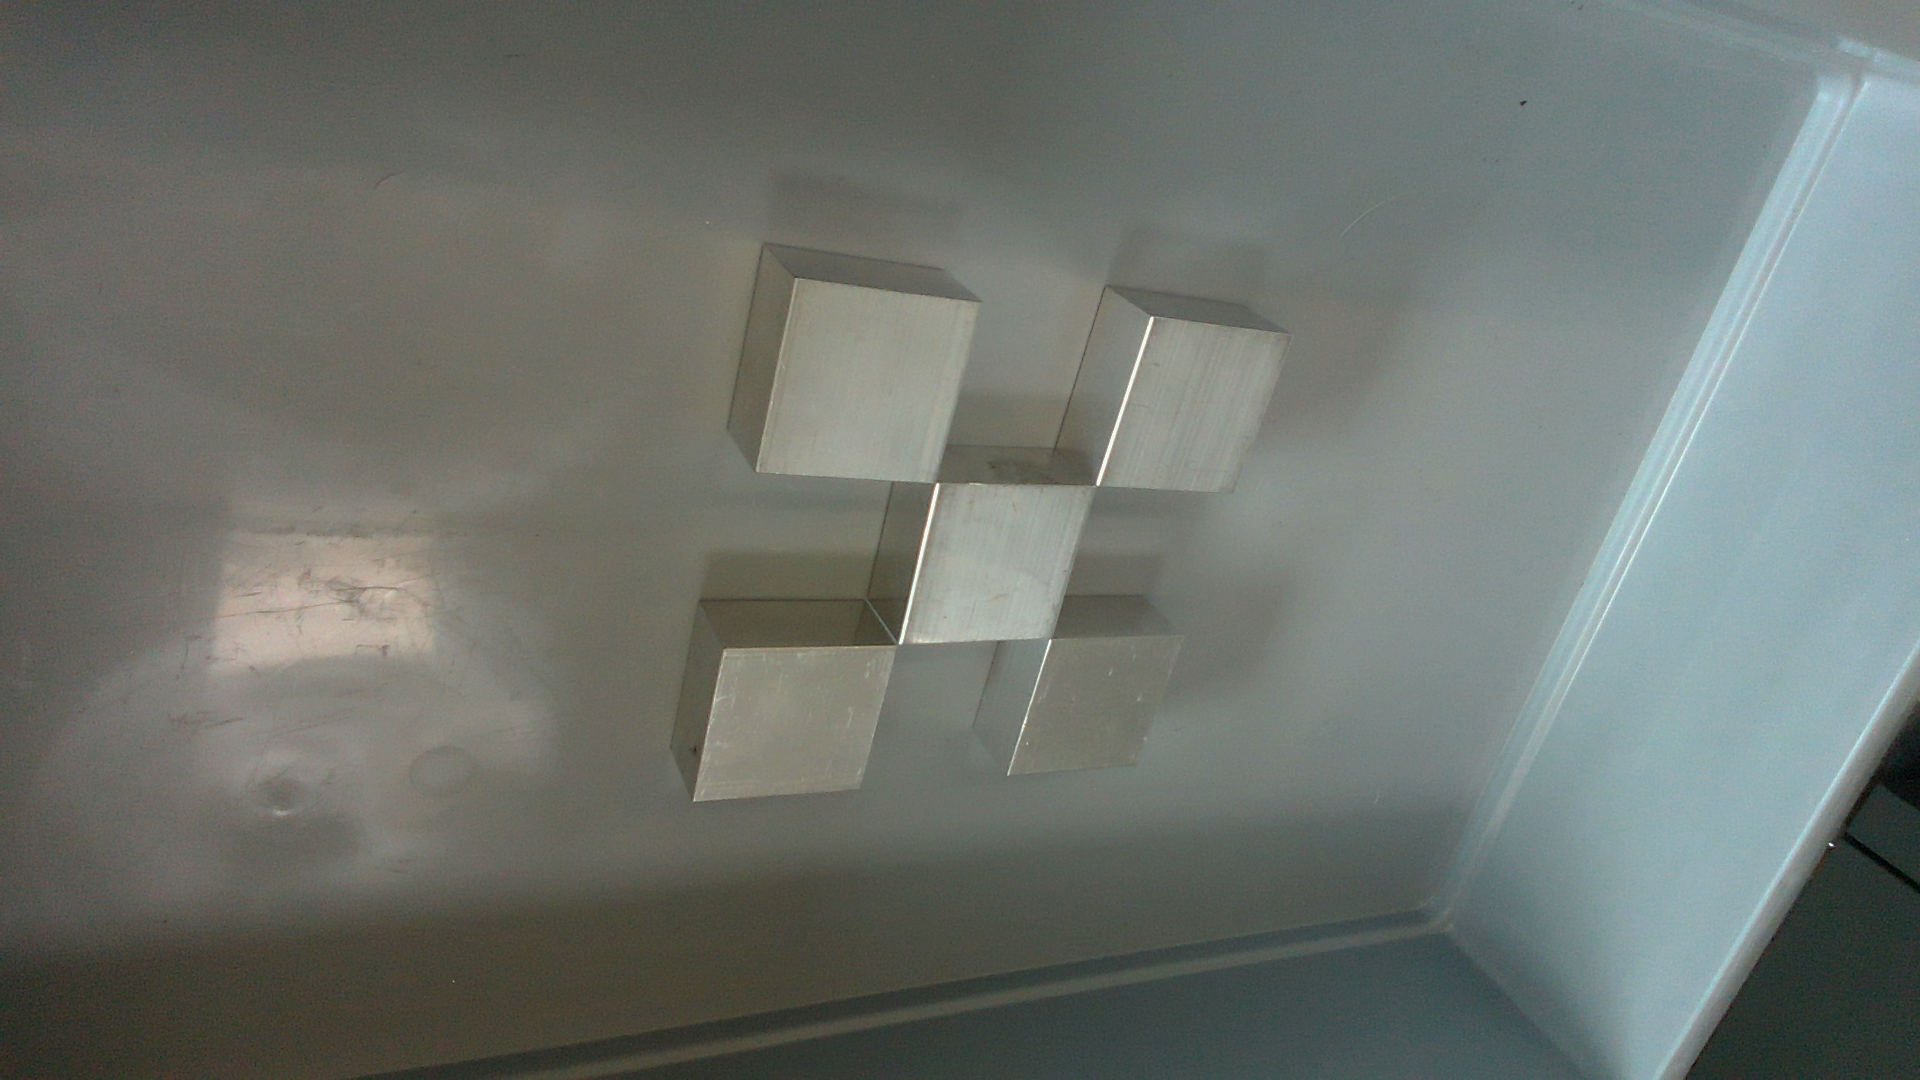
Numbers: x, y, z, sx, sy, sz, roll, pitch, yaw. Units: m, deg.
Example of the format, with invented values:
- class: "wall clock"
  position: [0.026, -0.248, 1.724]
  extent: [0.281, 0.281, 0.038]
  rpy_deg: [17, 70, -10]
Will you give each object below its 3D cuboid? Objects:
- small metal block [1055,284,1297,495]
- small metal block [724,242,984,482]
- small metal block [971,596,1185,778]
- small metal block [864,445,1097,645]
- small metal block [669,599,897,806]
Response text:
- class: "small metal block"
  position: [0.061, -0.042, 0.394]
  extent: [0.050, 0.025, 0.050]
  rpy_deg: [2, 117, -29]
- class: "small metal block"
  position: [-0.027, -0.044, 0.346]
  extent: [0.050, 0.025, 0.050]
  rpy_deg: [1, 118, -29]
- class: "small metal block"
  position: [0.037, 0.046, 0.435]
  extent: [0.050, 0.025, 0.050]
  rpy_deg: [1, 118, -29]
- class: "small metal block"
  position: [0.005, 0.001, 0.390]
  extent: [0.050, 0.025, 0.050]
  rpy_deg: [0, 118, -29]
- class: "small metal block"
  position: [-0.051, 0.045, 0.387]
  extent: [0.050, 0.025, 0.050]
  rpy_deg: [1, 118, -29]
